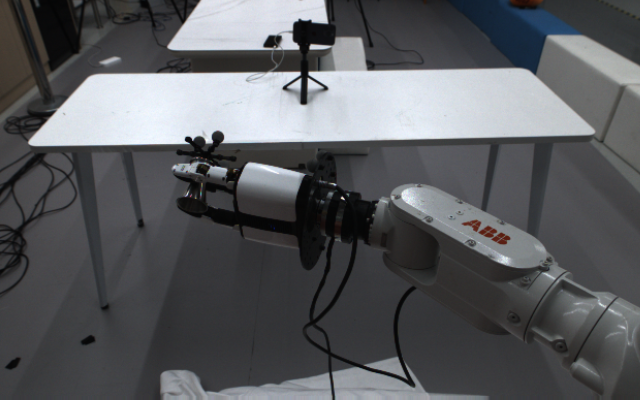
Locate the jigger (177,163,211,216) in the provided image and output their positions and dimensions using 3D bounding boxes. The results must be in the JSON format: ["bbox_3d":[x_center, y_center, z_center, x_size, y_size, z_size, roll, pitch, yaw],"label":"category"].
[{"bbox_3d":[-0.177,-0.022,0.687,0.043,0.043,0.071,6,61,6],"label":"jigger"}]
